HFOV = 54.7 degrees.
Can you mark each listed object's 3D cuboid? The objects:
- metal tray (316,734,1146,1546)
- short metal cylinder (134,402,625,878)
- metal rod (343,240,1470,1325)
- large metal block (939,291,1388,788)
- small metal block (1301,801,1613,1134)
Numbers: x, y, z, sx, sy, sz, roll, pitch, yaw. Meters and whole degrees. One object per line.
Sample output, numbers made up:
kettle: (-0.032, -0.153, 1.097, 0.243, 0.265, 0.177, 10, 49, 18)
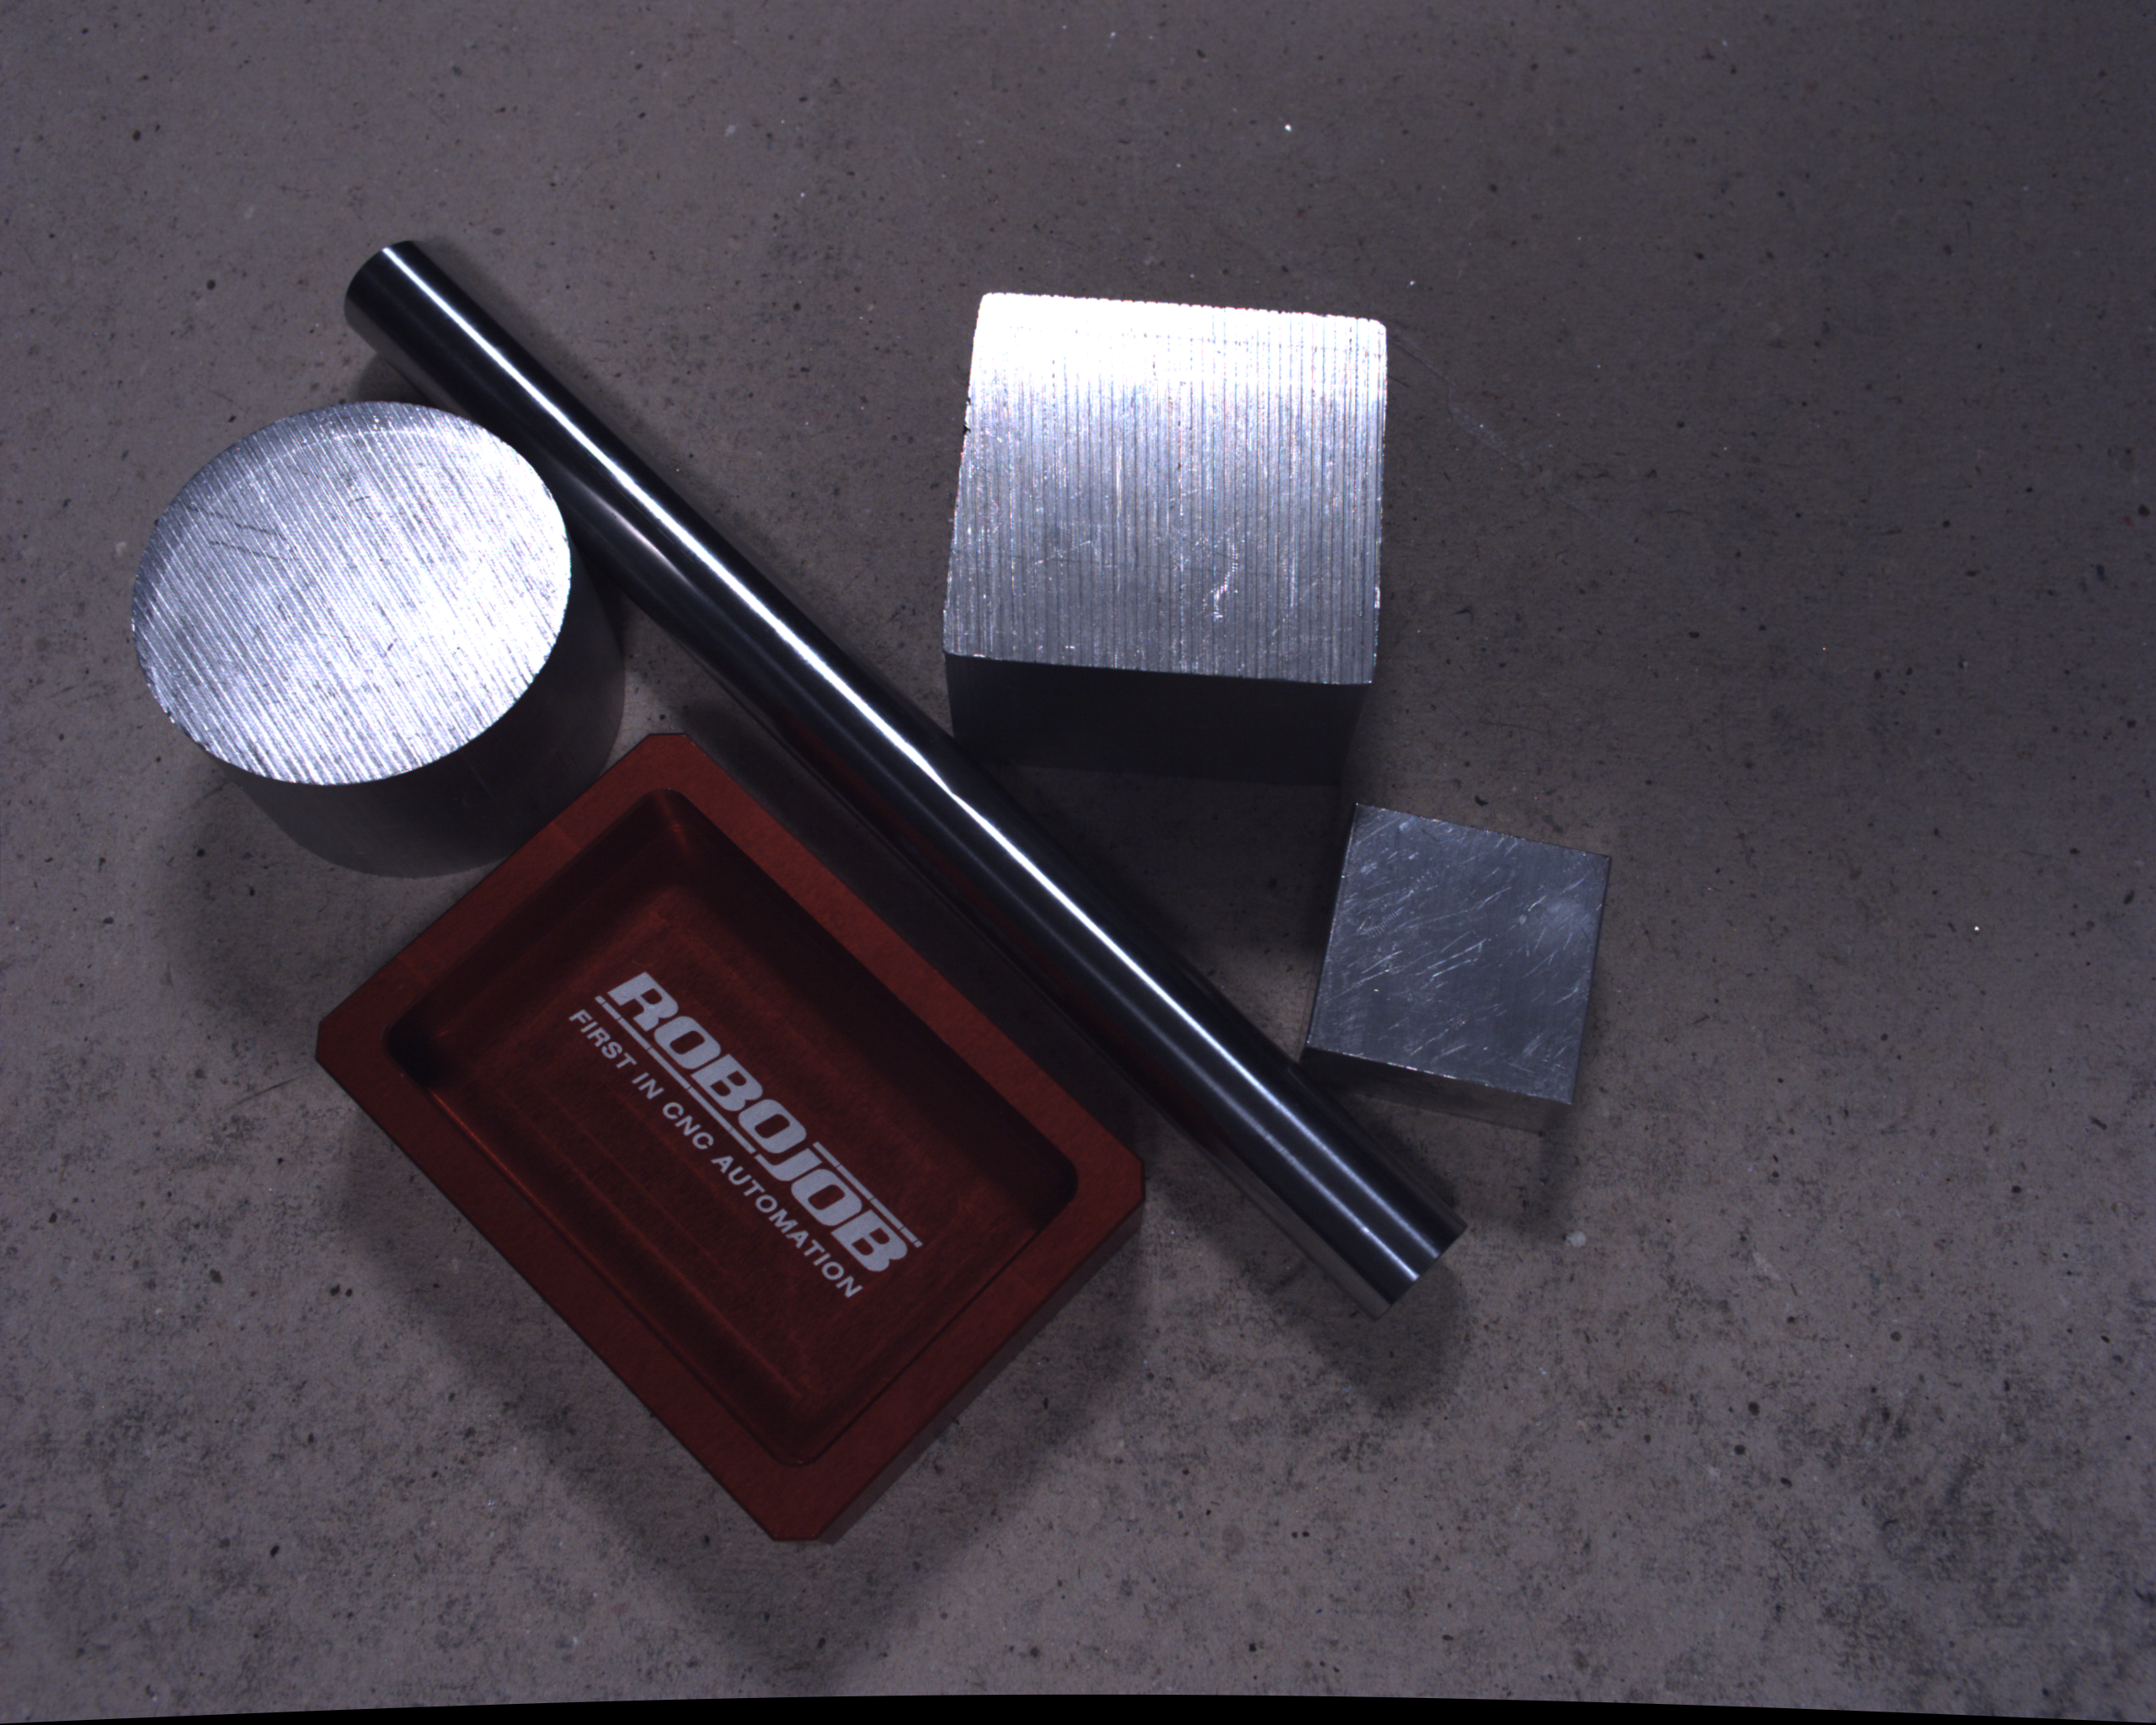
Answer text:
metal tray: (-0.063, 0.049, 0.388, 0.130, 0.030, 0.090, 42, 75, 13)
short metal cylinder: (-0.134, -0.043, 0.410, 0.081, 0.050, 0.080, 0, 70, 0)
metal rod: (-0.043, -0.024, 0.417, 0.025, 0.025, 0.300, -43, 76, -14)
large metal block: (0.018, -0.064, 0.420, 0.081, 0.050, 0.080, 4, 70, 1)
small metal block: (0.072, 0.020, 0.403, 0.050, 0.025, 0.050, 12, 70, 4)
